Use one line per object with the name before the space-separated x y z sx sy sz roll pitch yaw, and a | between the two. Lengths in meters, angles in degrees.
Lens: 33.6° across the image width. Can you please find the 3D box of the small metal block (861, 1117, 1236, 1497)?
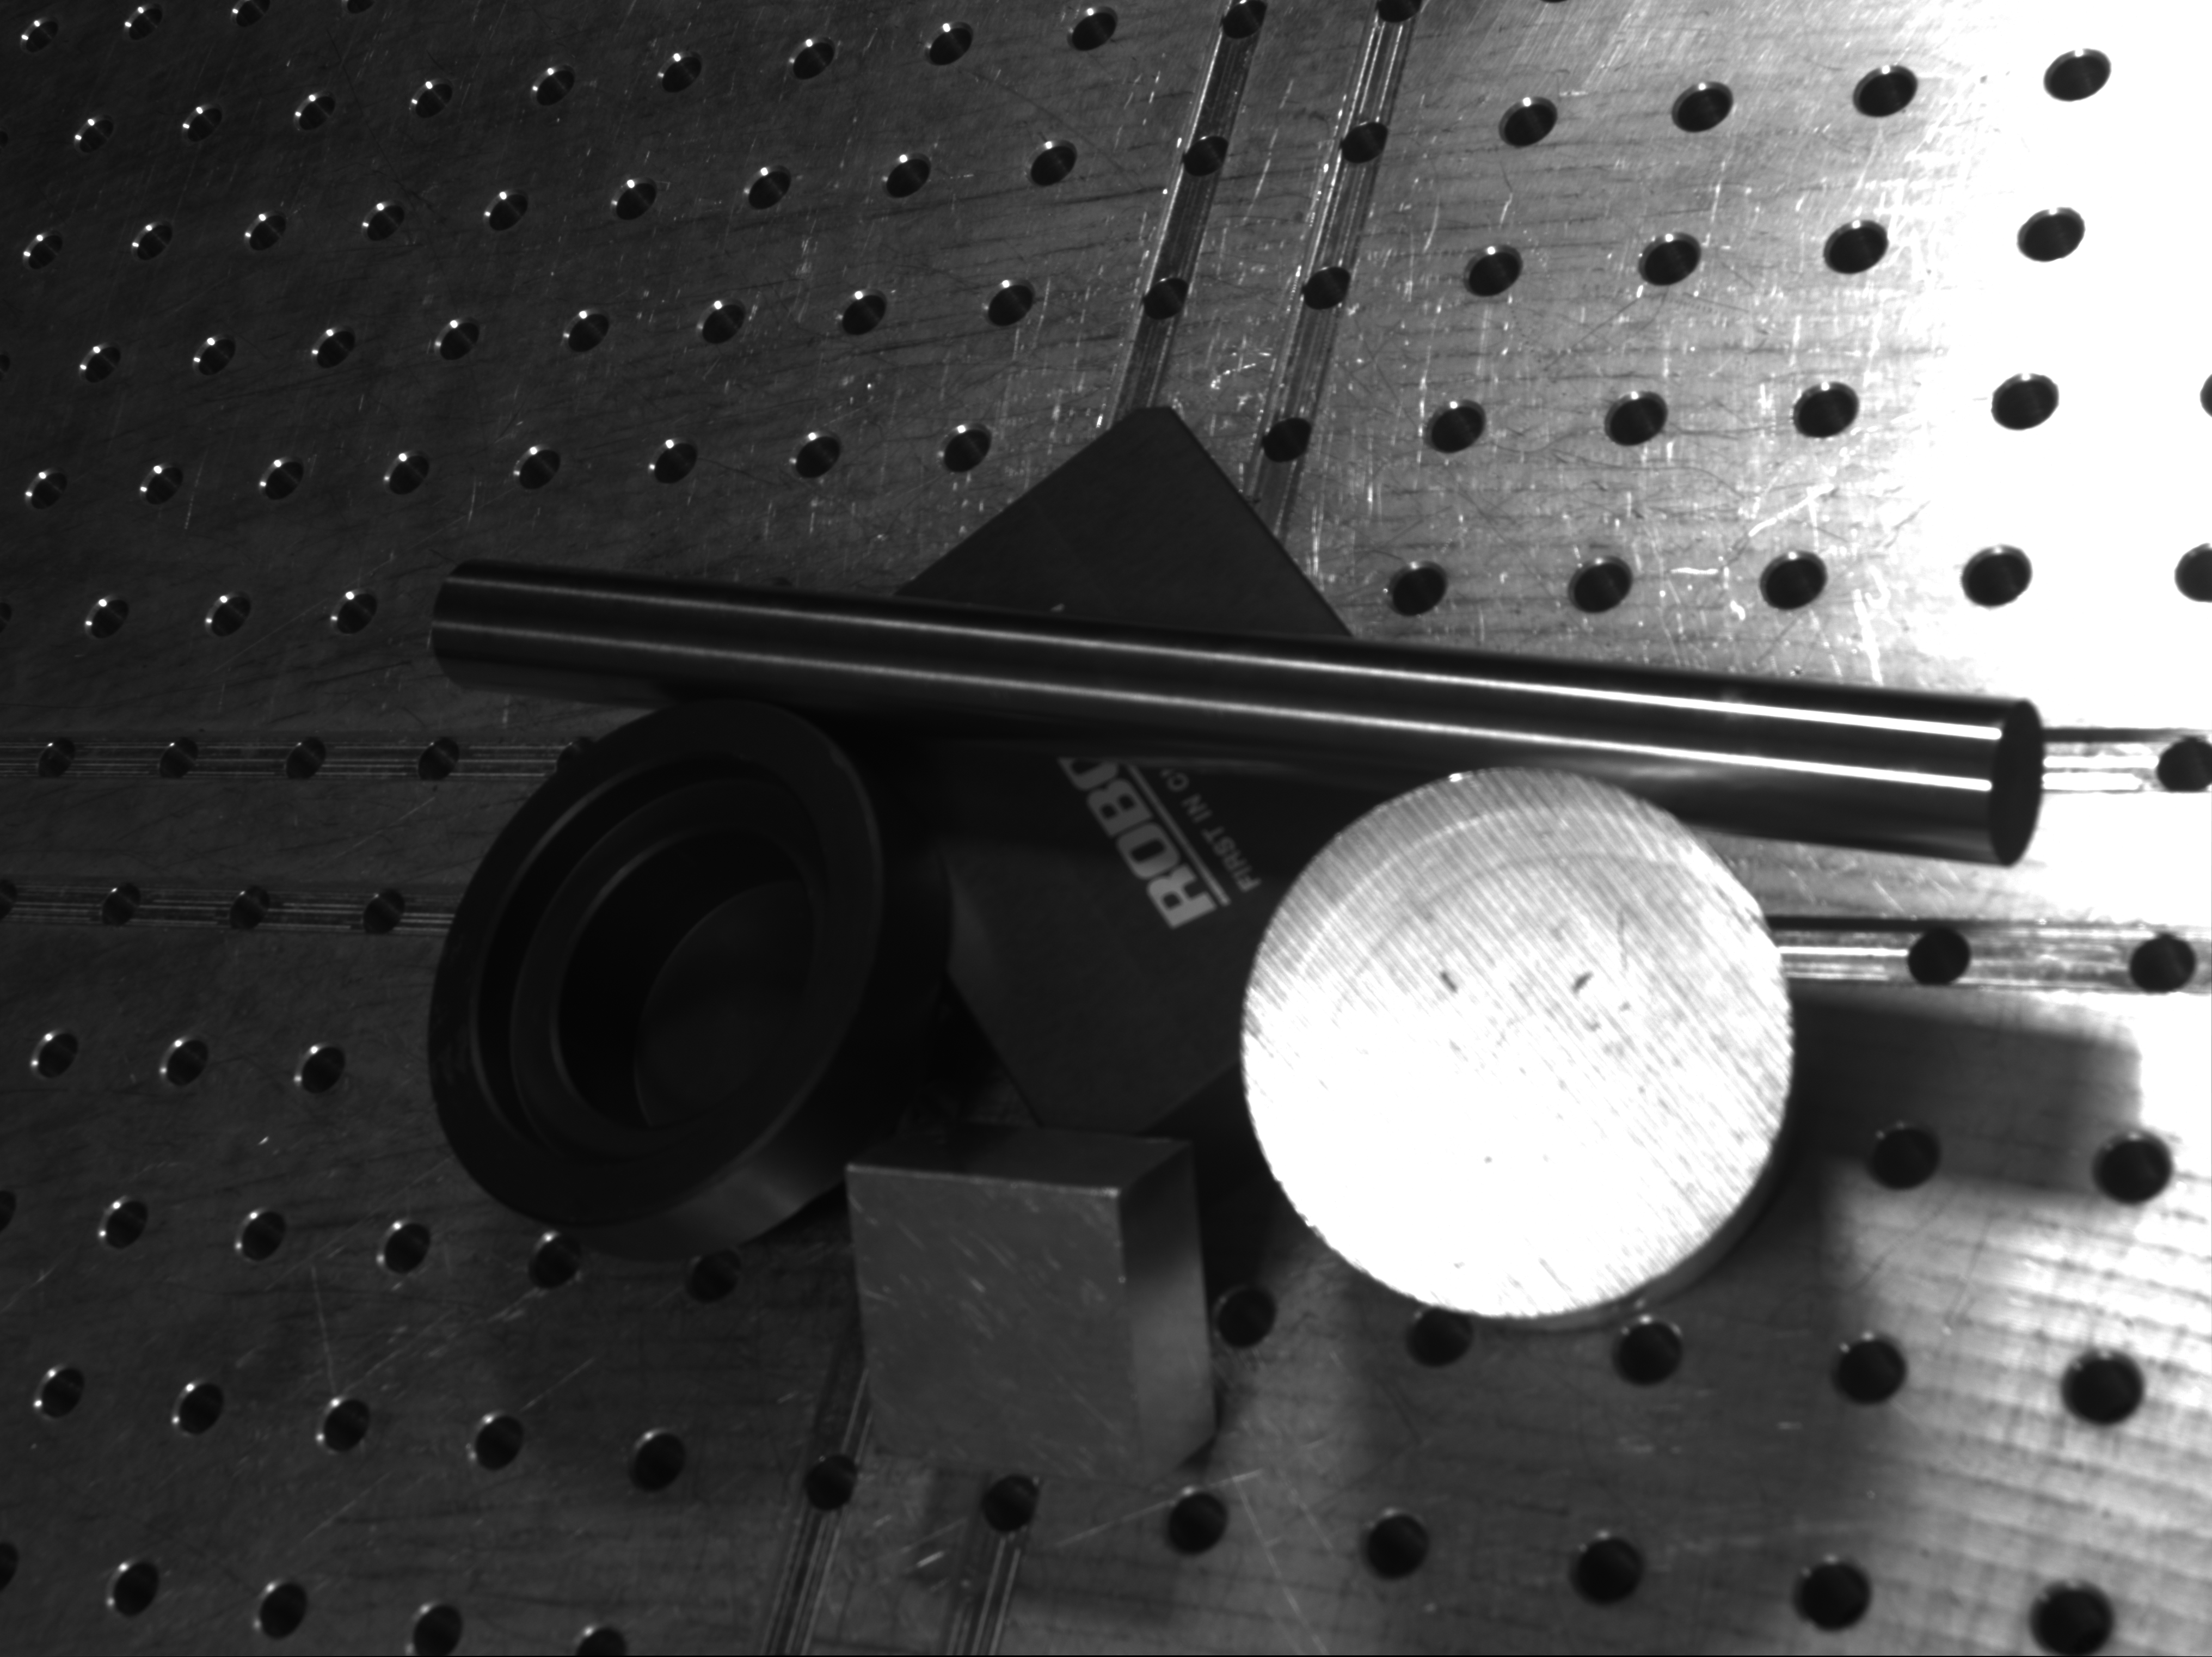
small metal block | -0.009 0.076 0.588 0.050 0.025 0.050 3 106 29

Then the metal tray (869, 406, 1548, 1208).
metal tray | 0.013 -0.005 0.642 0.090 0.030 0.130 -37 51 3

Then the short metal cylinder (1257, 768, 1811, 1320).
short metal cylinder | 0.066 0.035 0.554 0.080 0.050 0.080 -2 81 11

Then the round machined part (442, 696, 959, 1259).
round machined part | -0.066 0.029 0.648 0.098 0.042 0.098 -15 60 28

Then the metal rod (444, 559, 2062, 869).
metal rod | 0.010 -0.023 0.615 0.299 0.025 0.025 7 65 31
